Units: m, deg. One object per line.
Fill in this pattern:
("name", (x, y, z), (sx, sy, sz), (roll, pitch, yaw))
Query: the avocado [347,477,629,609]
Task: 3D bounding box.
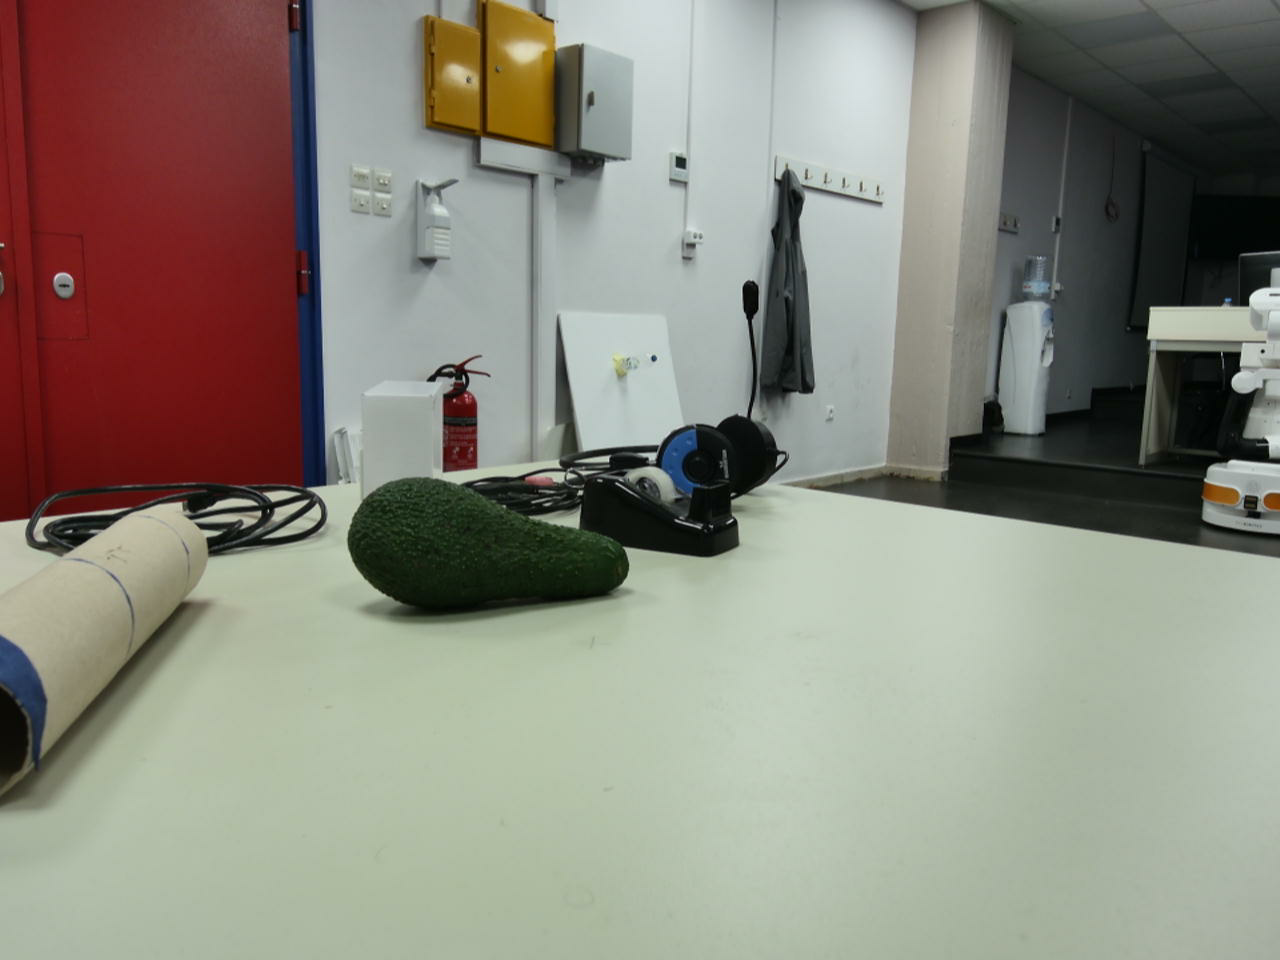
("avocado", (-0.076, 0.029, 0.507), (0.141, 0.067, 0.063), (-4, 8, -34))
